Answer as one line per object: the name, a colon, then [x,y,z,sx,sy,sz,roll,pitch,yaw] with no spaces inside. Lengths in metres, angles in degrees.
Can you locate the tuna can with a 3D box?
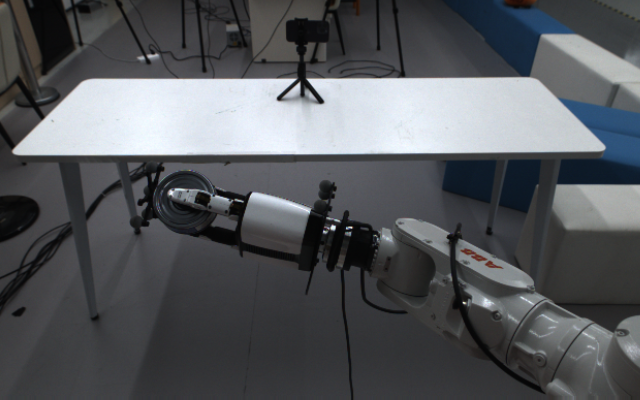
tuna can: [-0.181,0.006,0.663,0.085,0.034,0.085,1,75,-4]
